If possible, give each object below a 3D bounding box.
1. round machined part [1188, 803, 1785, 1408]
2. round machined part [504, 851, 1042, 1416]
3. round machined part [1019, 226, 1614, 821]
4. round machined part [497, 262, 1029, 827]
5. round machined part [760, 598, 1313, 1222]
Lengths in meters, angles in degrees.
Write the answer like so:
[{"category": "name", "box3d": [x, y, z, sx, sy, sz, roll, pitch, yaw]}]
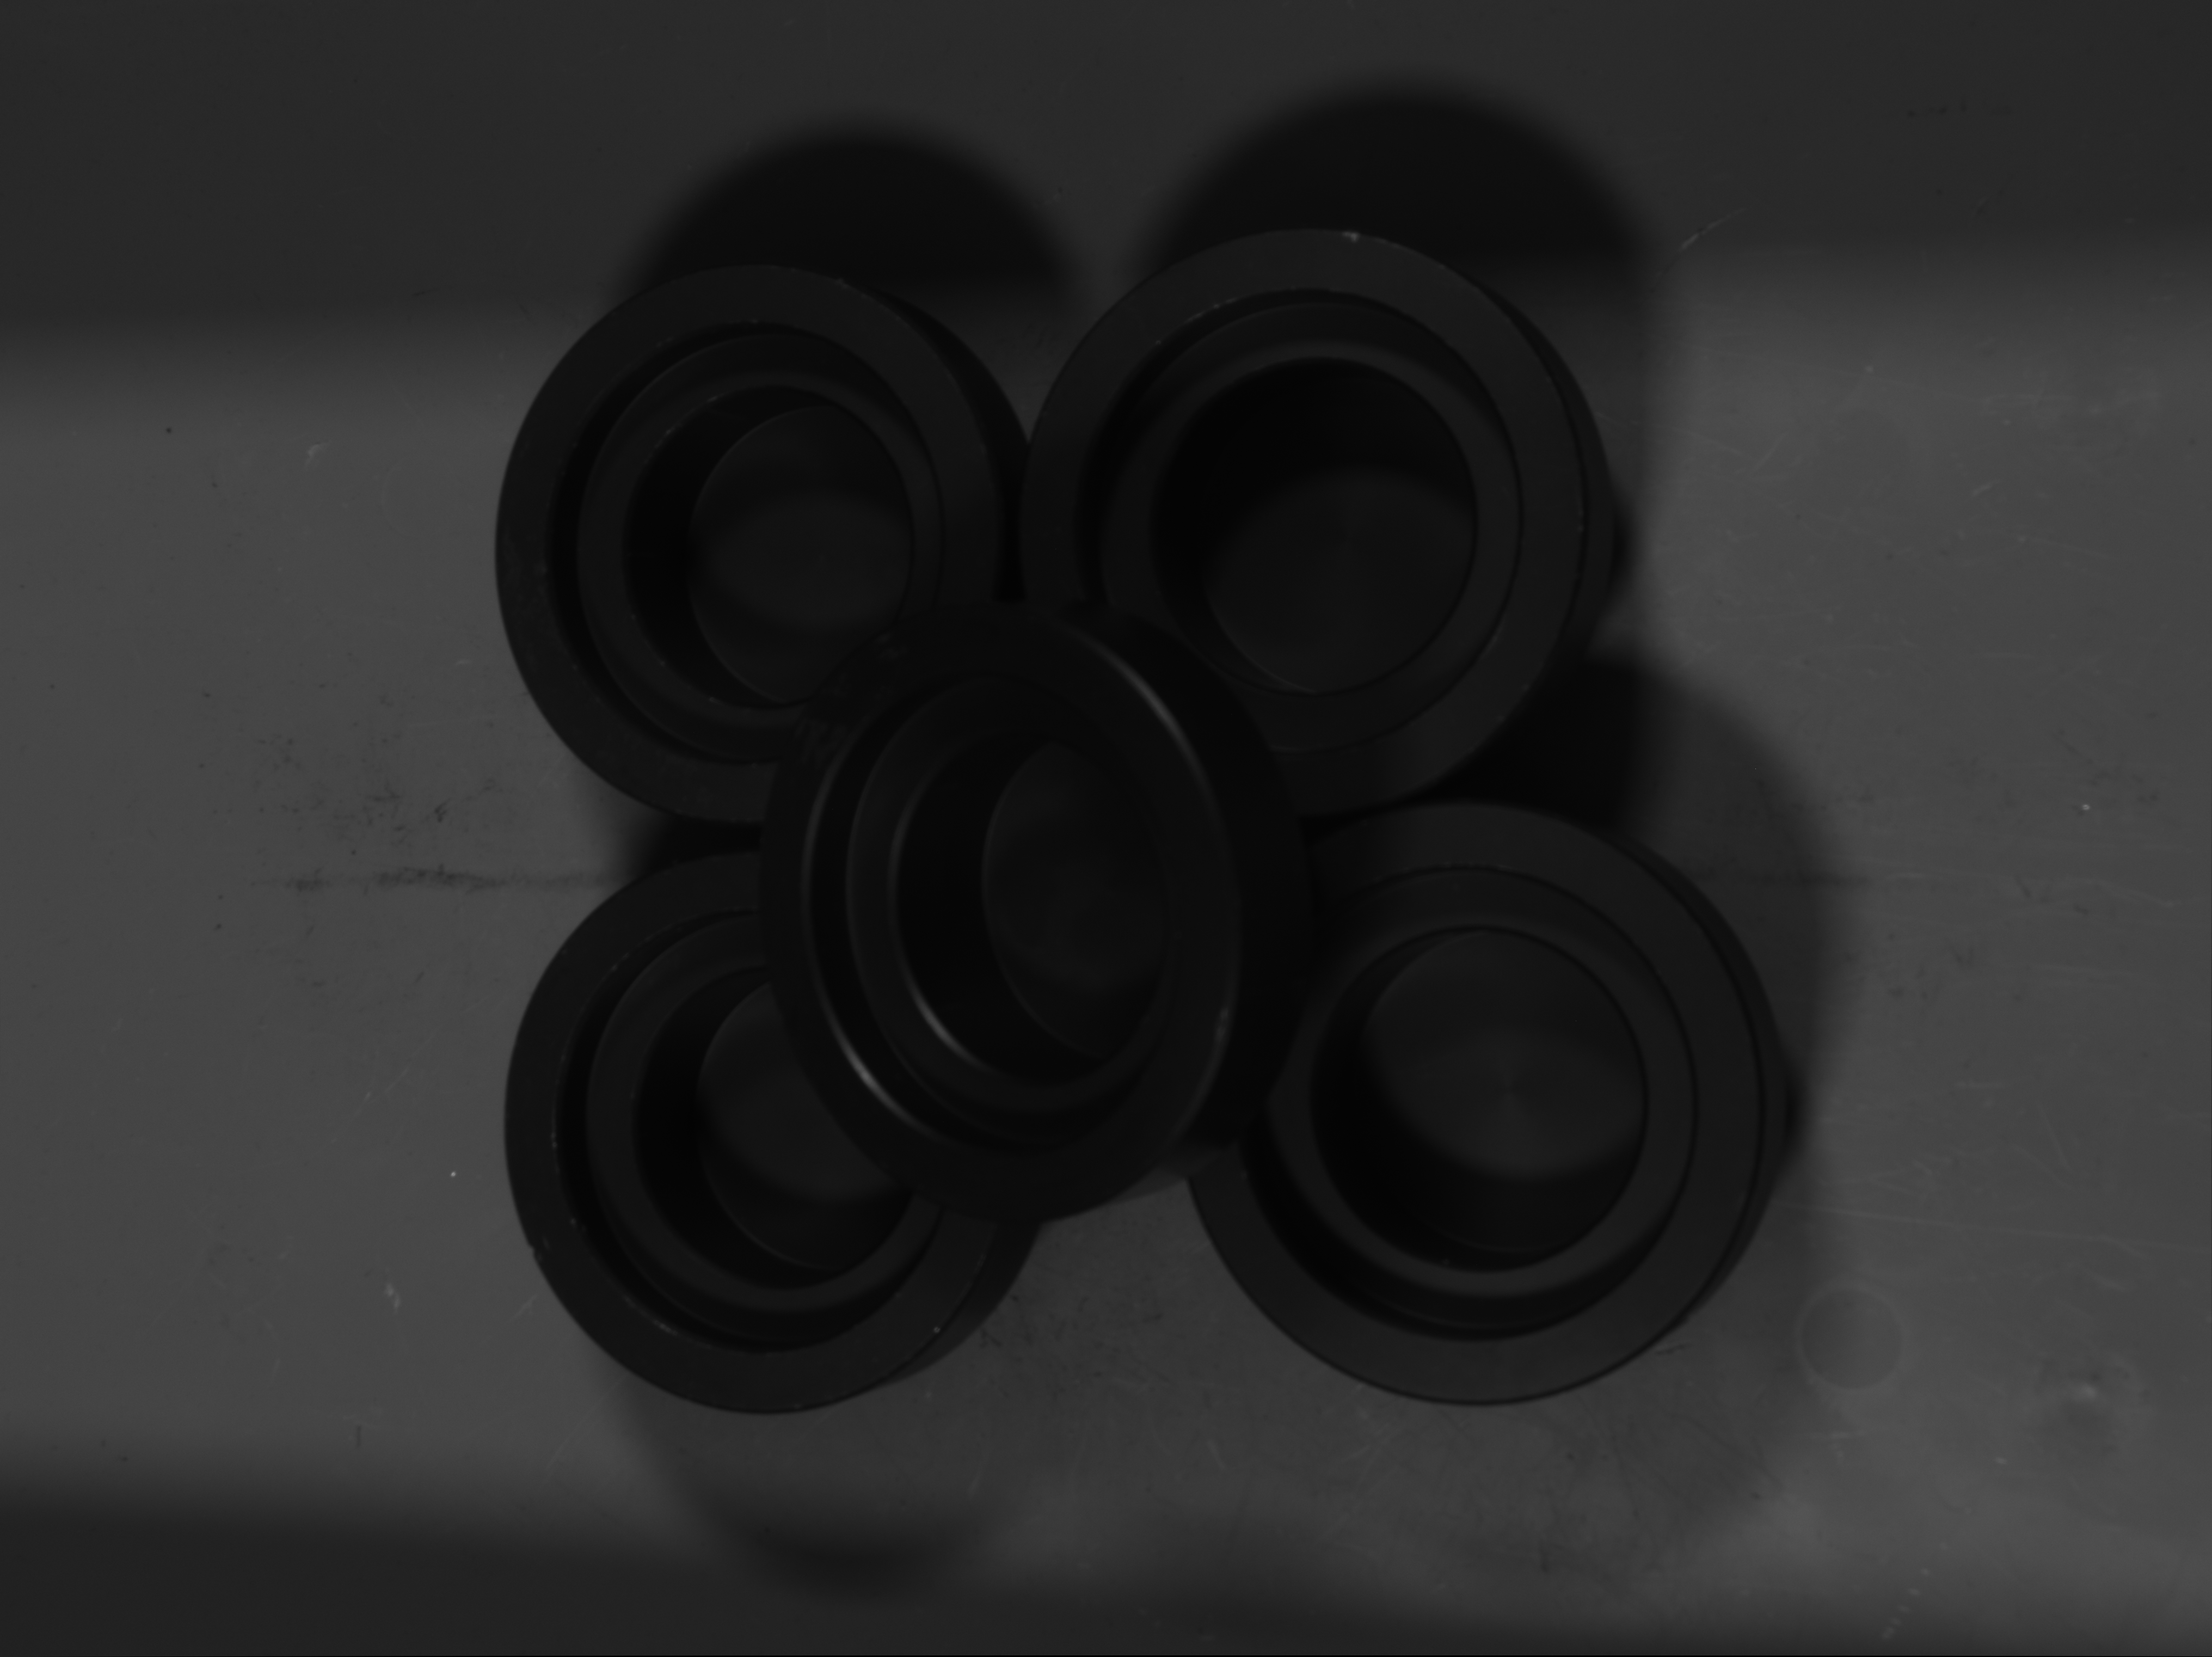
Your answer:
[{"category": "round machined part", "box3d": [0.064, 0.045, 0.611, 0.098, 0.042, 0.098, 0, 90, 20]}, {"category": "round machined part", "box3d": [-0.054, 0.053, 0.653, 0.098, 0.042, 0.098, 0, 90, 20]}, {"category": "round machined part", "box3d": [0.038, -0.050, 0.621, 0.098, 0.042, 0.098, 0, 90, 20]}, {"category": "round machined part", "box3d": [-0.056, -0.049, 0.654, 0.098, 0.042, 0.098, 0, 90, 20]}, {"category": "round machined part", "box3d": [-0.006, 0.012, 0.591, 0.098, 0.042, 0.098, 5, 97, 38]}]
